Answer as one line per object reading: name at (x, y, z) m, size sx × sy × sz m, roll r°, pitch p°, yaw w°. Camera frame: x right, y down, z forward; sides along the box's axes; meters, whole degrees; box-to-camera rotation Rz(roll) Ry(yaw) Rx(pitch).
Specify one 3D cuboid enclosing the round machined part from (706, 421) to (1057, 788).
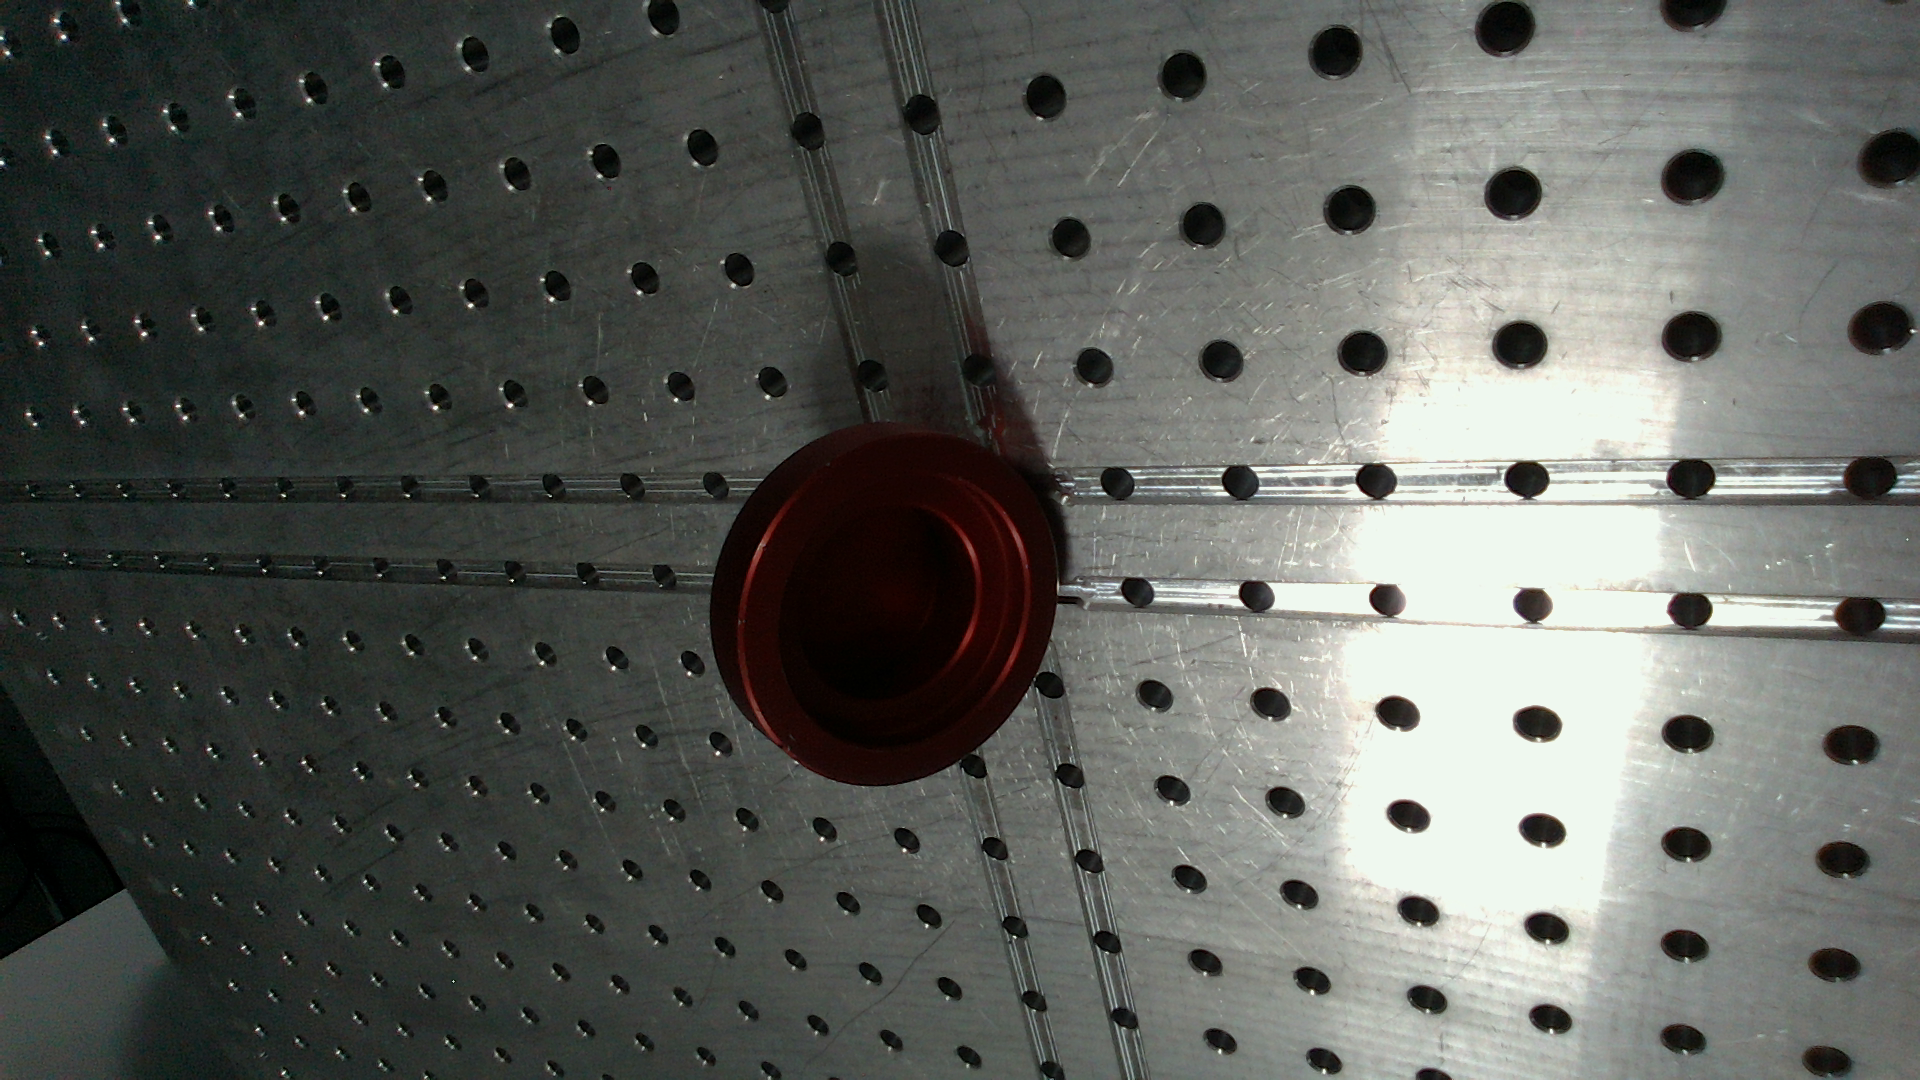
round machined part at (-0.025, 0.015, 0.383) m, size 0.042 × 0.098 × 0.098 m, roll 22°, pitch 135°, yaw 56°
